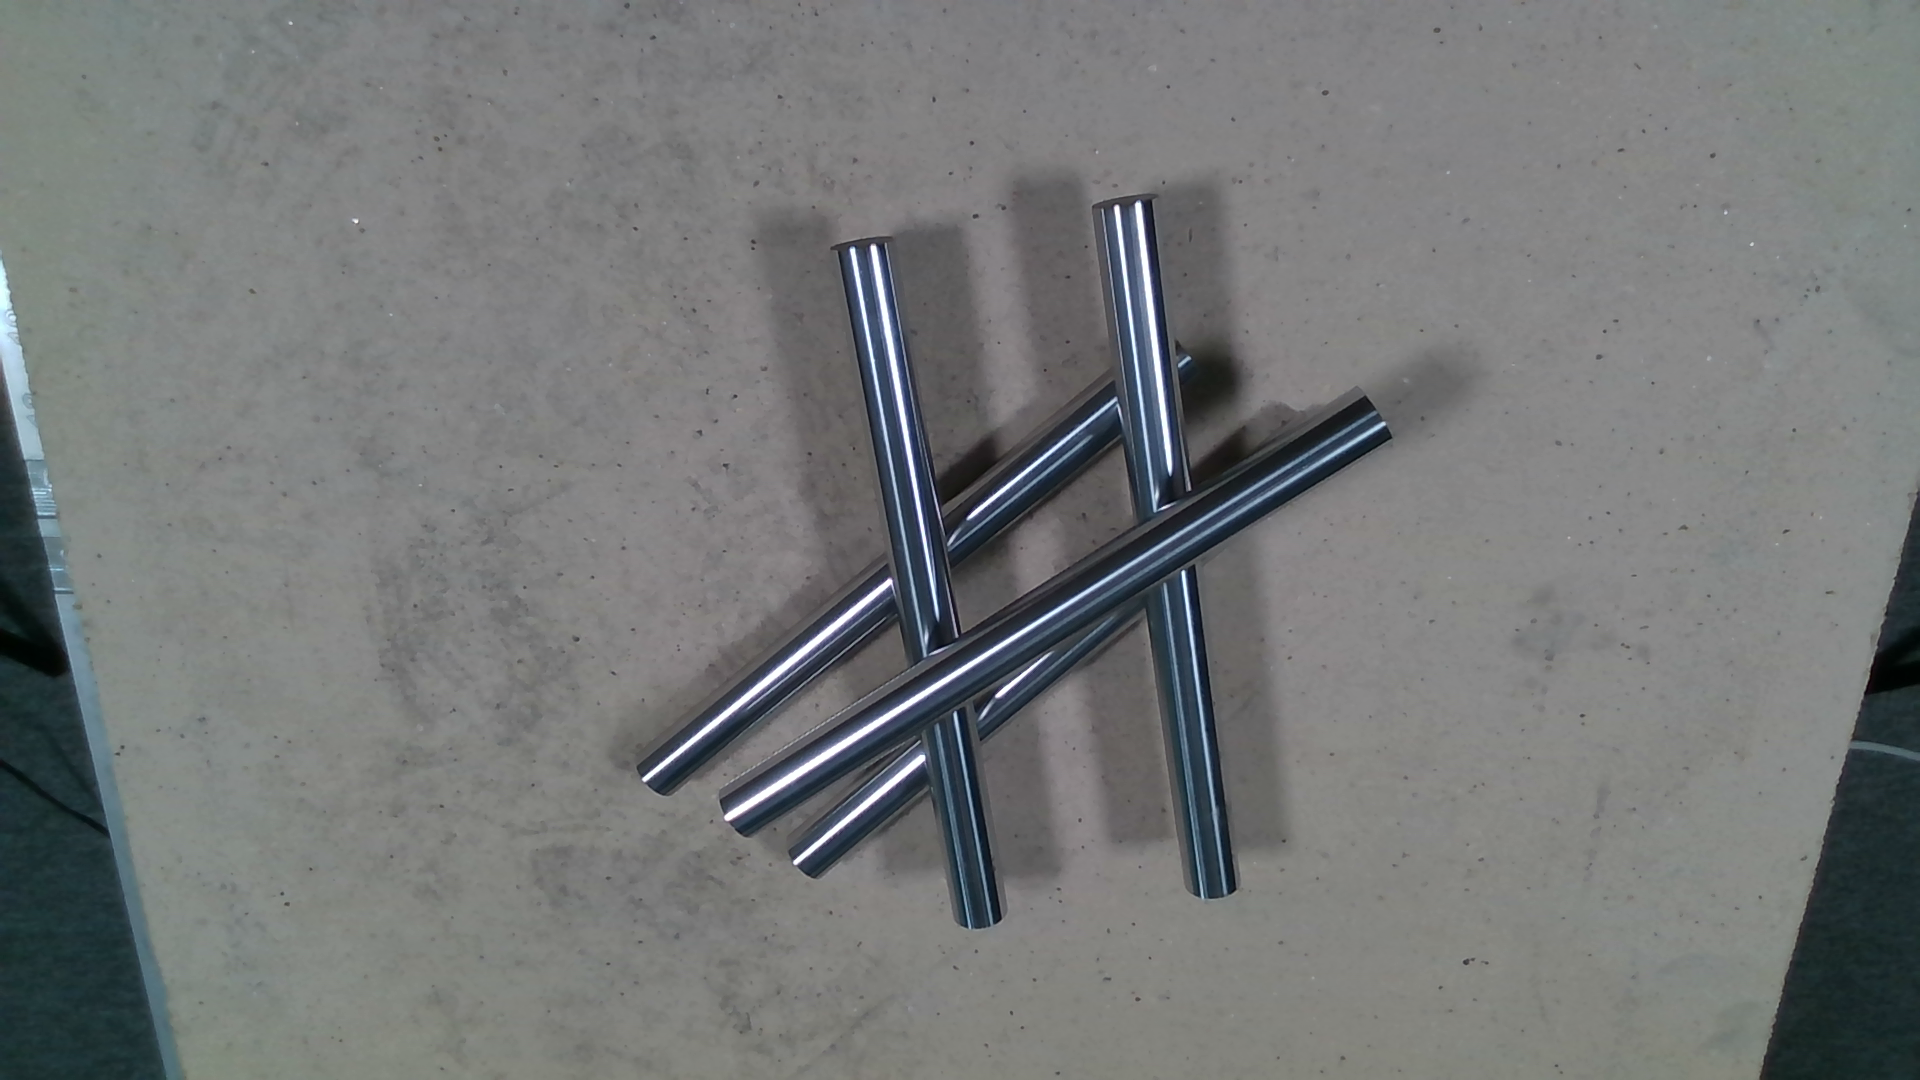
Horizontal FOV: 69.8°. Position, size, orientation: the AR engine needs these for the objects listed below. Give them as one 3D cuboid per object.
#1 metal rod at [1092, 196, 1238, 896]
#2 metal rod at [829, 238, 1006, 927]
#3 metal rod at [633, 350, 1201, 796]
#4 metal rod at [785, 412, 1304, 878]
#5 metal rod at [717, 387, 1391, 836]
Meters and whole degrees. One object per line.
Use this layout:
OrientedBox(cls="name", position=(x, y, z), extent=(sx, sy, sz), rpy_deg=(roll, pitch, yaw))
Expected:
OrientedBox(cls="metal rod", position=(0.087, 0.013, 0.563), extent=(0.025, 0.025, 0.301), rpy_deg=(-9, 110, 3))
OrientedBox(cls="metal rod", position=(-0.014, 0.028, 0.569), extent=(0.025, 0.025, 0.301), rpy_deg=(-8, 110, 3))
OrientedBox(cls="metal rod", position=(-0.025, 0.014, 0.589), extent=(0.300, 0.025, 0.025), rpy_deg=(-39, 106, 13))
OrientedBox(cls="metal rod", position=(0.038, 0.051, 0.603), extent=(0.300, 0.025, 0.025), rpy_deg=(-41, 105, 14))
OrientedBox(cls="metal rod", position=(0.030, 0.033, 0.544), extent=(0.300, 0.025, 0.025), rpy_deg=(-33, 107, 12))
